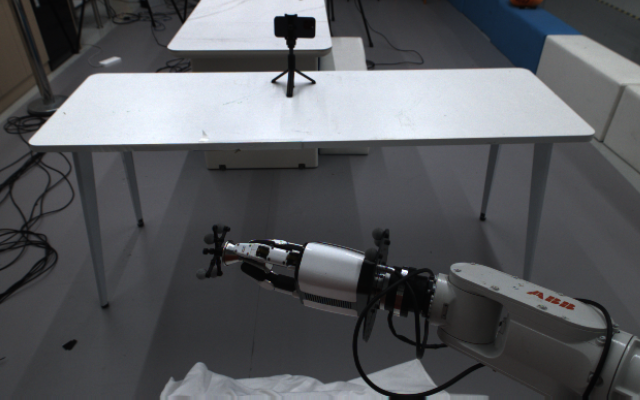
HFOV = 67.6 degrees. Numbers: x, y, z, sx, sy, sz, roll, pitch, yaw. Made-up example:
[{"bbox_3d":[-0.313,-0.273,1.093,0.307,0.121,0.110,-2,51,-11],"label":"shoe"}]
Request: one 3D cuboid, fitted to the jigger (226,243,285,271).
[{"bbox_3d":[-0.100,0.080,0.720,0.071,0.043,0.043,6,35,13],"label":"jigger"}]
